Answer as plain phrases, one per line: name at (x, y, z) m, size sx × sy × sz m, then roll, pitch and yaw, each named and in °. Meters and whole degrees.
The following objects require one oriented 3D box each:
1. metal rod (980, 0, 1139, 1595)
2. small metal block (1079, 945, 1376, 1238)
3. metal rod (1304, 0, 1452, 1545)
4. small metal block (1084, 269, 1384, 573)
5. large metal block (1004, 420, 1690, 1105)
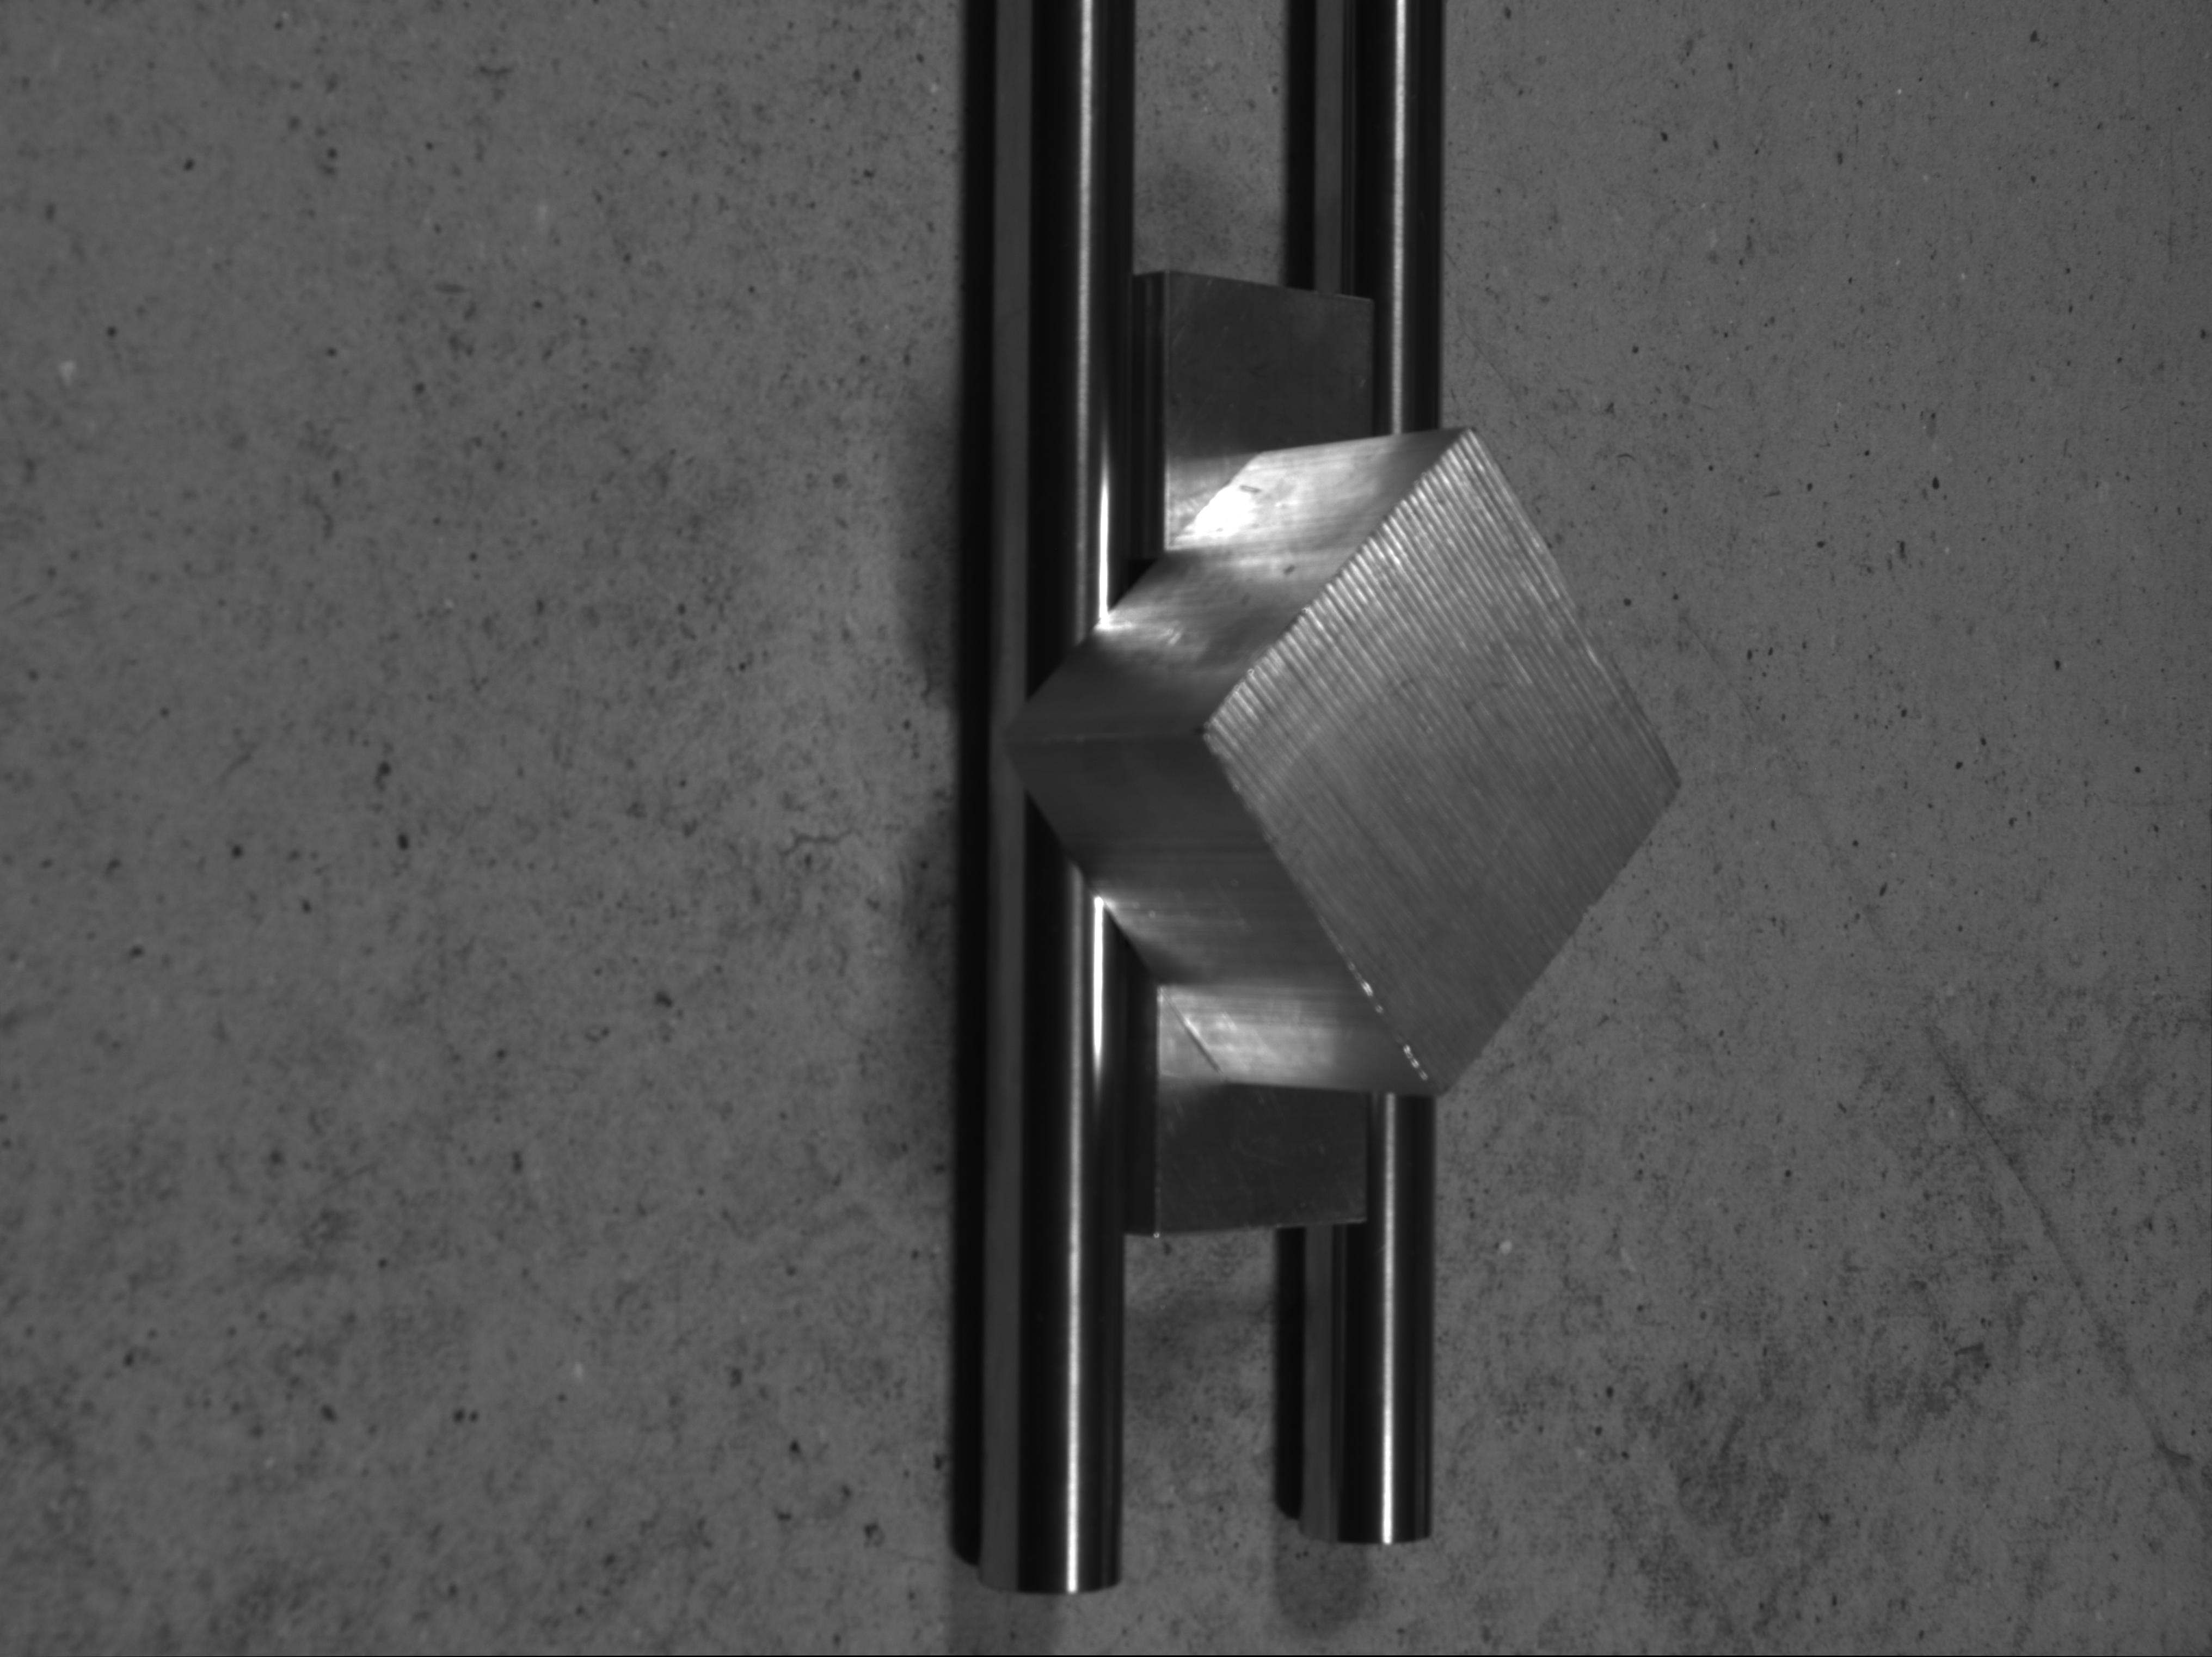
metal rod at (-0.008, -0.020, 0.632) m, size 0.025 × 0.025 × 0.300 m, roll 1°, pitch 89°, yaw -40°
small metal block at (0.022, 0.046, 0.654) m, size 0.050 × 0.025 × 0.050 m, roll 1°, pitch 89°, yaw -40°
metal rod at (0.051, -0.020, 0.680) m, size 0.025 × 0.025 × 0.300 m, roll 1°, pitch 89°, yaw -40°
small metal block at (0.023, -0.071, 0.655) m, size 0.050 × 0.025 × 0.050 m, roll 1°, pitch 89°, yaw -40°
large metal block at (0.043, -0.011, 0.622) m, size 0.080 × 0.050 × 0.080 m, roll -48°, pitch 119°, yaw -29°
